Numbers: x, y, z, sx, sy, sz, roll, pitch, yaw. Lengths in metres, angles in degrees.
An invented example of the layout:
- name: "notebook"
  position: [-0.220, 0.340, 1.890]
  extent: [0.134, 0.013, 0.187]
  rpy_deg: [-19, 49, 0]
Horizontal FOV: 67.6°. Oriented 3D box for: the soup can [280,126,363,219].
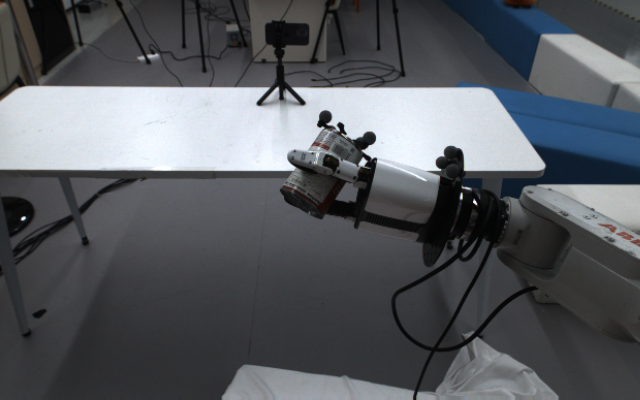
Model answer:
- name: "soup can"
  position: [0.003, -0.036, 0.639]
  extent: [0.067, 0.067, 0.101]
  rpy_deg: [26, 75, 30]
